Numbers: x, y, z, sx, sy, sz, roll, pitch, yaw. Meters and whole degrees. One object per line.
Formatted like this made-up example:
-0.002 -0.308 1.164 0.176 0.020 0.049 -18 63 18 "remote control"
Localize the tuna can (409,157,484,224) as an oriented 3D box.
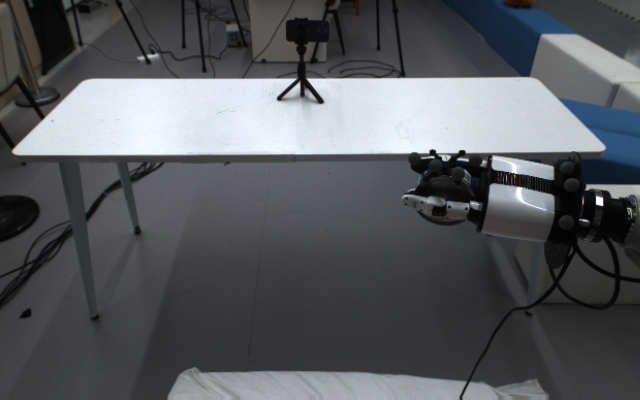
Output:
0.178 -0.009 0.682 0.085 0.085 0.034 12 39 13 "tuna can"
